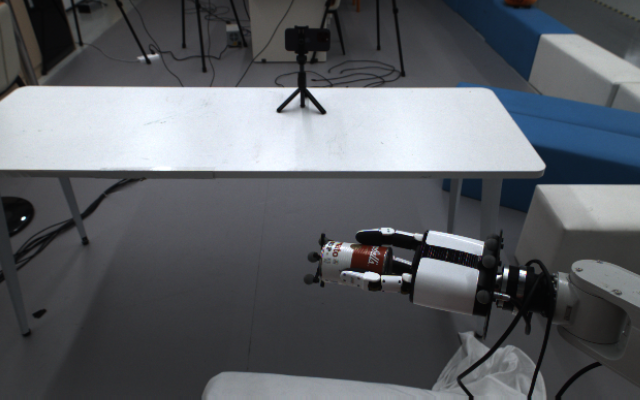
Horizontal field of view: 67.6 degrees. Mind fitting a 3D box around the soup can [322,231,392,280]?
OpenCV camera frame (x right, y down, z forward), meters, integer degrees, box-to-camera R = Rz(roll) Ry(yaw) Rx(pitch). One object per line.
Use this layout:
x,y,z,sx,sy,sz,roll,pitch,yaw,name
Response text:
0.059,0.101,0.750,0.101,0.067,0.067,4,34,18,soup can
